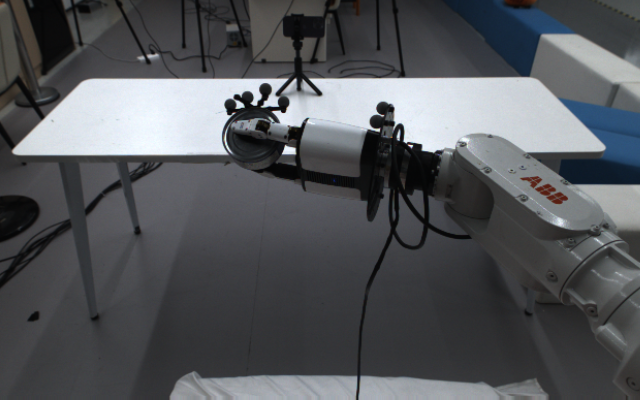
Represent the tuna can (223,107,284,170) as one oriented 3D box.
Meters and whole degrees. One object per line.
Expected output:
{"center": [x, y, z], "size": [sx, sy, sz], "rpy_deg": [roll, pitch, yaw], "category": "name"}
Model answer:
{"center": [-0.091, -0.087, 0.690], "size": [0.085, 0.034, 0.085], "rpy_deg": [-2, 69, 6], "category": "tuna can"}
